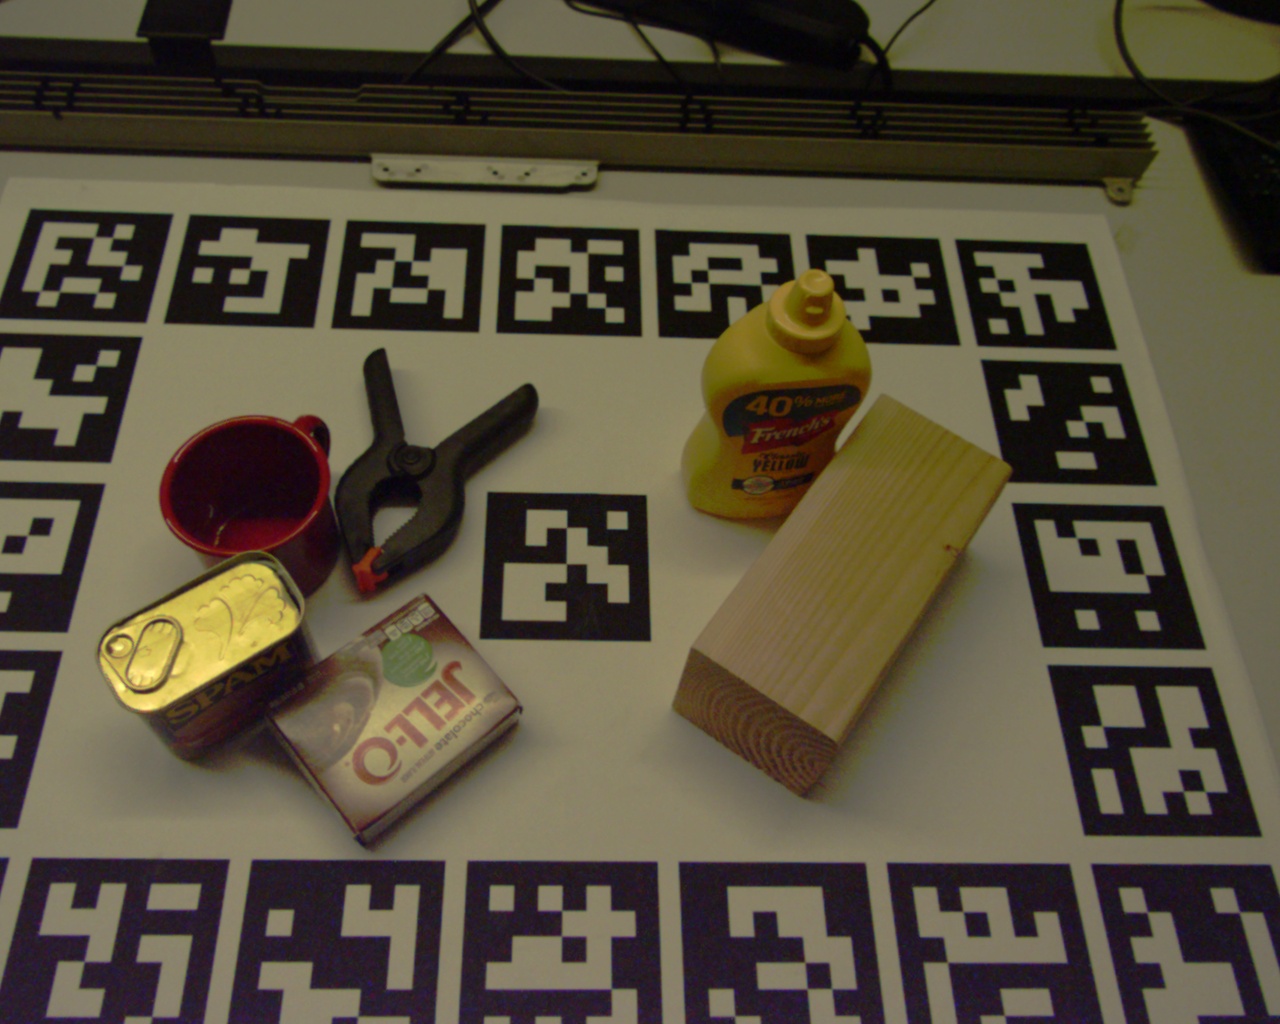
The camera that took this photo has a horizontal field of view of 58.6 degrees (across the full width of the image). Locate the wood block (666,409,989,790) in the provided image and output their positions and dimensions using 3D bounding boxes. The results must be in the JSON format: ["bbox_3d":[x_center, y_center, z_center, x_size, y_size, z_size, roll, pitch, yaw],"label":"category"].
[{"bbox_3d":[0.112,0.048,0.687,0.090,0.091,0.205,33,61,15],"label":"wood block"}]

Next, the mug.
[{"bbox_3d":[-0.228,0.000,0.717,0.093,0.081,0.117,20,63,7],"label":"mug"}]

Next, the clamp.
[{"bbox_3d":[-0.147,-0.031,0.746,0.122,0.036,0.165,18,63,4],"label":"clamp"}]

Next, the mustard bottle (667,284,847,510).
[{"bbox_3d":[0.072,-0.070,0.687,0.096,0.191,0.059,-4,62,-6],"label":"mustard bottle"}]

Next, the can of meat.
[{"bbox_3d":[-0.234,0.081,0.639,0.101,0.083,0.058,-27,68,-18],"label":"can of meat"}]

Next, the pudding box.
[{"bbox_3d":[-0.138,0.114,0.658,0.113,0.038,0.091,-36,69,-23],"label":"pudding box"}]
